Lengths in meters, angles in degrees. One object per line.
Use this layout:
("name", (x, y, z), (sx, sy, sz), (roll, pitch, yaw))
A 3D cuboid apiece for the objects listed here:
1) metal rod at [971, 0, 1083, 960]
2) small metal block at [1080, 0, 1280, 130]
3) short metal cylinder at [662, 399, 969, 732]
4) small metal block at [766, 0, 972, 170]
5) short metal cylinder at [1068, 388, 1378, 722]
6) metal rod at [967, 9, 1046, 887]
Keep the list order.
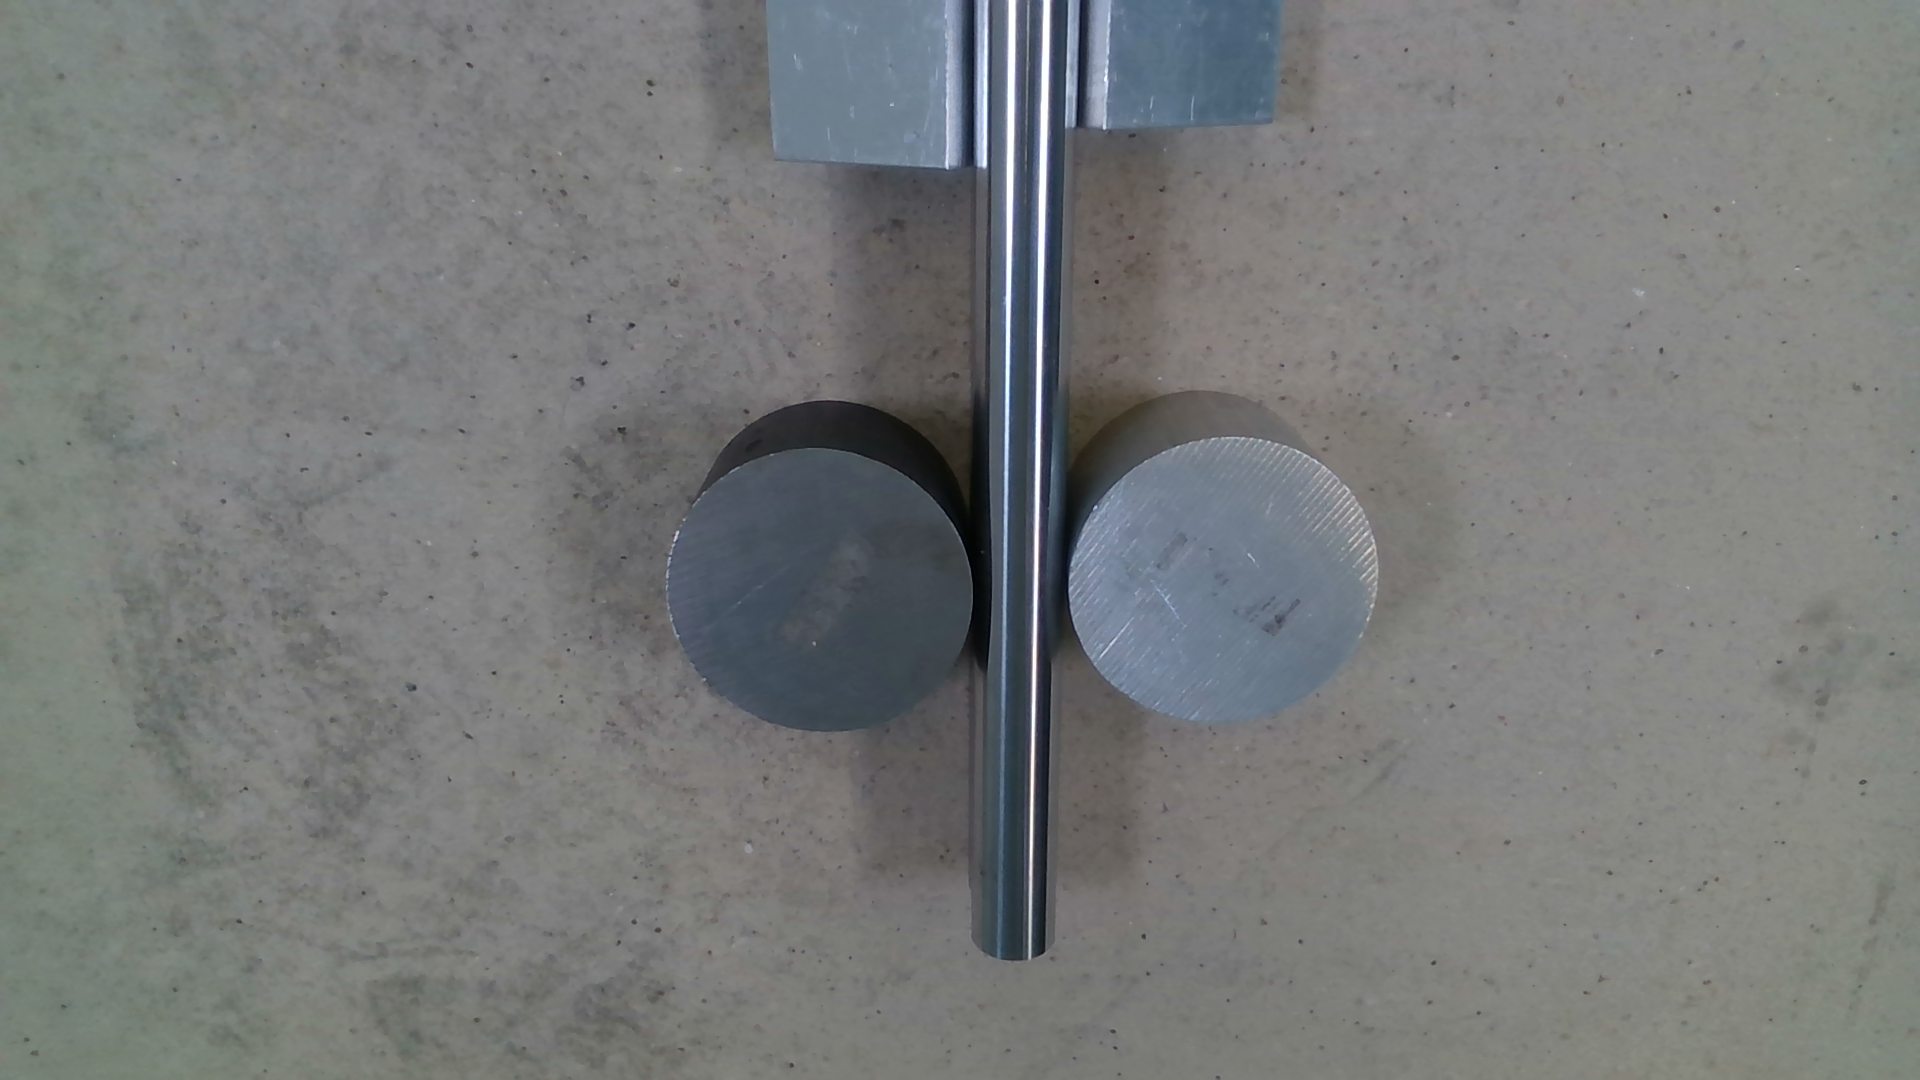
("metal rod", (0.016, -0.024, 0.358), (0.025, 0.025, 0.301), (0, 110, 0))
("small metal block", (0.050, -0.128, 0.337), (0.050, 0.025, 0.050), (-10, 112, -25))
("short metal cylinder", (-0.038, 0.006, 0.382), (0.080, 0.050, 0.080), (0, 110, 0))
("small metal block", (-0.019, -0.119, 0.339), (0.050, 0.025, 0.050), (10, 113, 25))
("short metal cylinder", (0.068, 0.003, 0.381), (0.080, 0.050, 0.080), (0, 110, 0))
("metal rod", (0.015, -0.033, 0.381), (0.025, 0.025, 0.301), (0, 110, 0))
